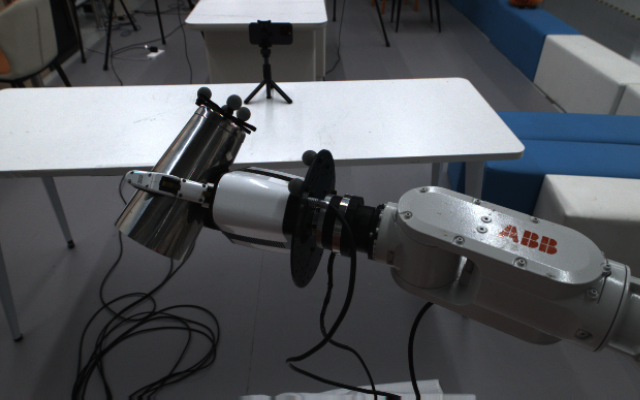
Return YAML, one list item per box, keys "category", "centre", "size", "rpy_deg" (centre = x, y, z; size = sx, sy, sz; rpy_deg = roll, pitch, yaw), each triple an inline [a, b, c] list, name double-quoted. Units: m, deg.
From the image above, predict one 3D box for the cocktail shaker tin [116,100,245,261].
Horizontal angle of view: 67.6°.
- category: "cocktail shaker tin"
  centre: [-0.160, -0.026, 0.583]
  size: [0.093, 0.093, 0.170]
  rpy_deg: [26, 83, 31]
